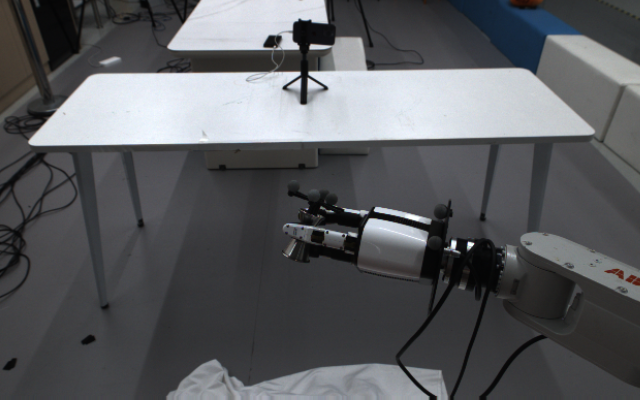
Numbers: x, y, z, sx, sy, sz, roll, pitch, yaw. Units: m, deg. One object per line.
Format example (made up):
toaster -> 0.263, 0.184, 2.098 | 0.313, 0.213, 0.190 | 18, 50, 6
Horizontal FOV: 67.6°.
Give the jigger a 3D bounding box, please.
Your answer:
jigger -> -0.024, 0.049, 0.682 | 0.043, 0.071, 0.043 | 22, 5, -2
